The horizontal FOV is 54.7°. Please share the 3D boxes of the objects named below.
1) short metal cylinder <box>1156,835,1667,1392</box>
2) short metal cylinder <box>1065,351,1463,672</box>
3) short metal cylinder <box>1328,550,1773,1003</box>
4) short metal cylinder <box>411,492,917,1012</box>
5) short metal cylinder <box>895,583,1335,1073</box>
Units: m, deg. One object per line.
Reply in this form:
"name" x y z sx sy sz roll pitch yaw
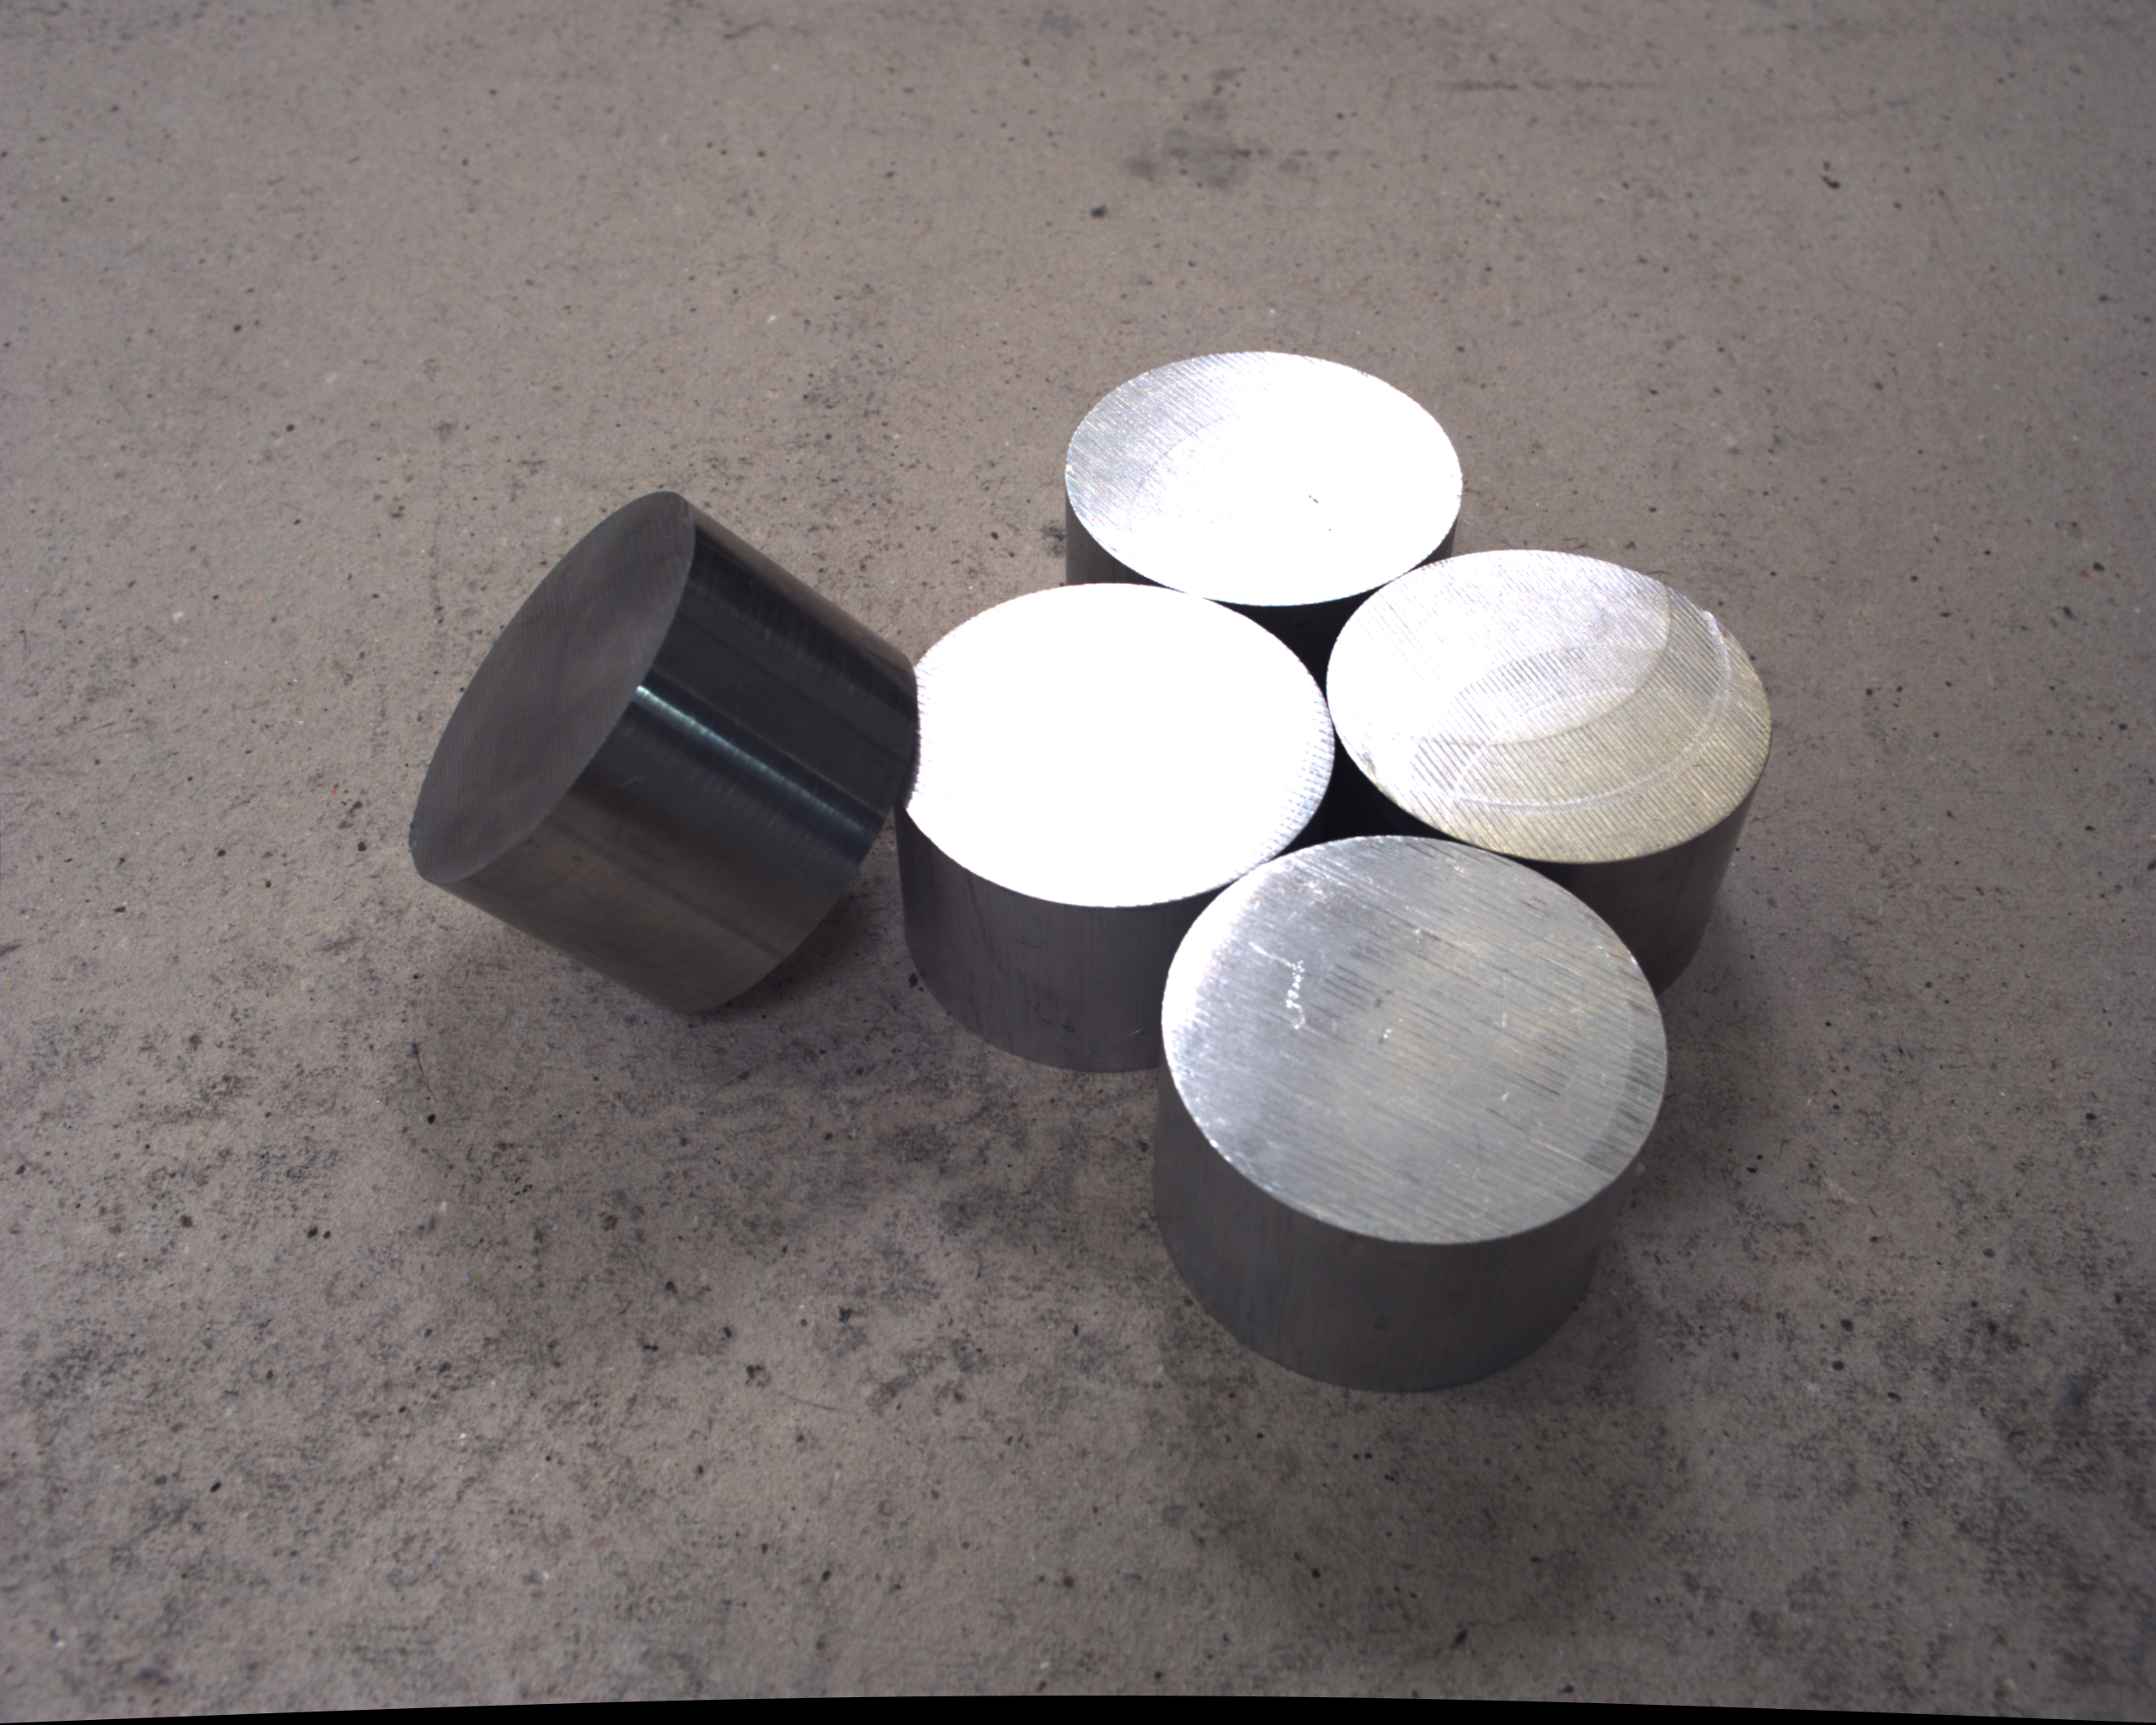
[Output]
"short metal cylinder" 0.054 0.042 0.354 0.080 0.050 0.080 0 50 0
"short metal cylinder" 0.038 -0.063 0.442 0.080 0.050 0.080 0 50 0
"short metal cylinder" 0.086 -0.015 0.401 0.080 0.050 0.080 0 50 0
"short metal cylinder" -0.075 -0.020 0.378 0.080 0.050 0.080 -33 39 32
"short metal cylinder" 0.006 -0.007 0.394 0.080 0.050 0.080 0 50 0
